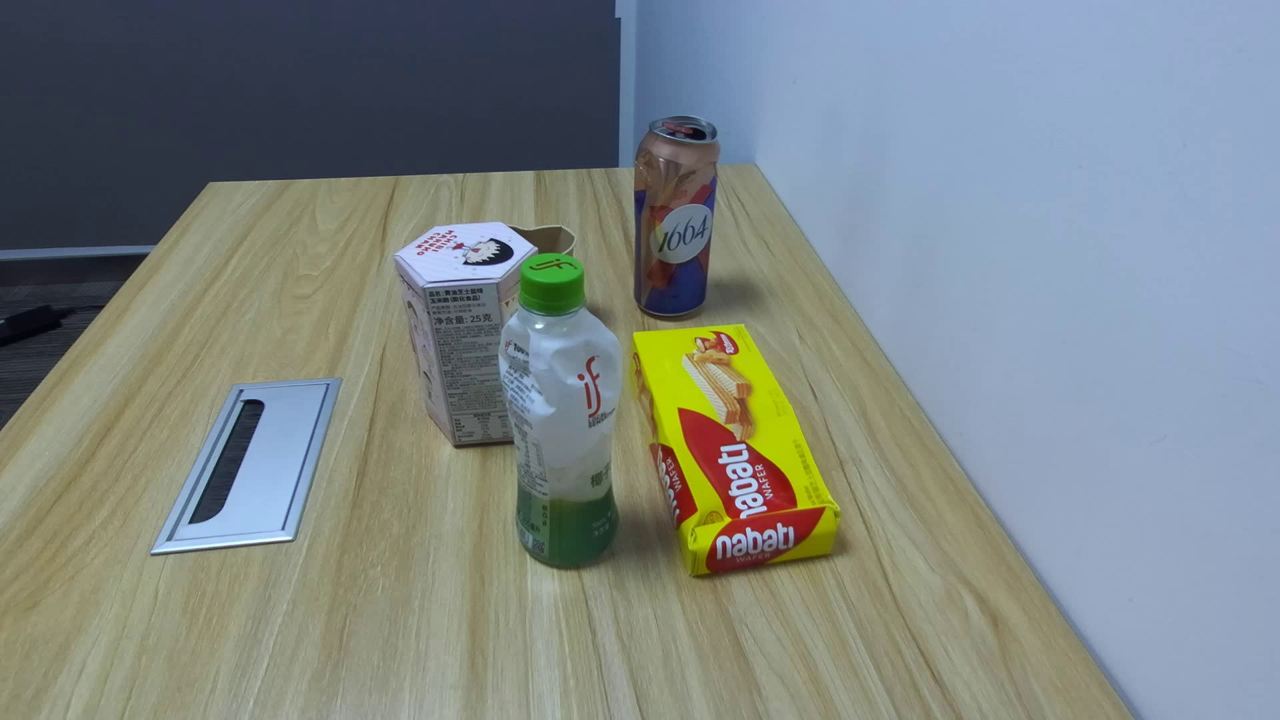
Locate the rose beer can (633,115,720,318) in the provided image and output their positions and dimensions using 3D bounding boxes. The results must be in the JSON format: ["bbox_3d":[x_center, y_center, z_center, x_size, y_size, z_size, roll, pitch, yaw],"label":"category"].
[{"bbox_3d":[0.032,-0.117,0.602,0.076,0.167,0.065,-19,43,-28],"label":"rose beer can"}]

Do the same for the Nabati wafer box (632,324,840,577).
[{"bbox_3d":[0.057,0.049,0.492,0.096,0.042,0.202,-5,39,-9],"label":"Nabati wafer box"}]

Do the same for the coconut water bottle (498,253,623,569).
[{"bbox_3d":[-0.043,0.031,0.389,0.067,0.187,0.067,1,36,0],"label":"coconut water bottle"}]

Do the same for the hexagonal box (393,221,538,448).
[{"bbox_3d":[-0.113,-0.016,0.492,0.083,0.136,0.091,15,39,18],"label":"hexagonal box"}]
